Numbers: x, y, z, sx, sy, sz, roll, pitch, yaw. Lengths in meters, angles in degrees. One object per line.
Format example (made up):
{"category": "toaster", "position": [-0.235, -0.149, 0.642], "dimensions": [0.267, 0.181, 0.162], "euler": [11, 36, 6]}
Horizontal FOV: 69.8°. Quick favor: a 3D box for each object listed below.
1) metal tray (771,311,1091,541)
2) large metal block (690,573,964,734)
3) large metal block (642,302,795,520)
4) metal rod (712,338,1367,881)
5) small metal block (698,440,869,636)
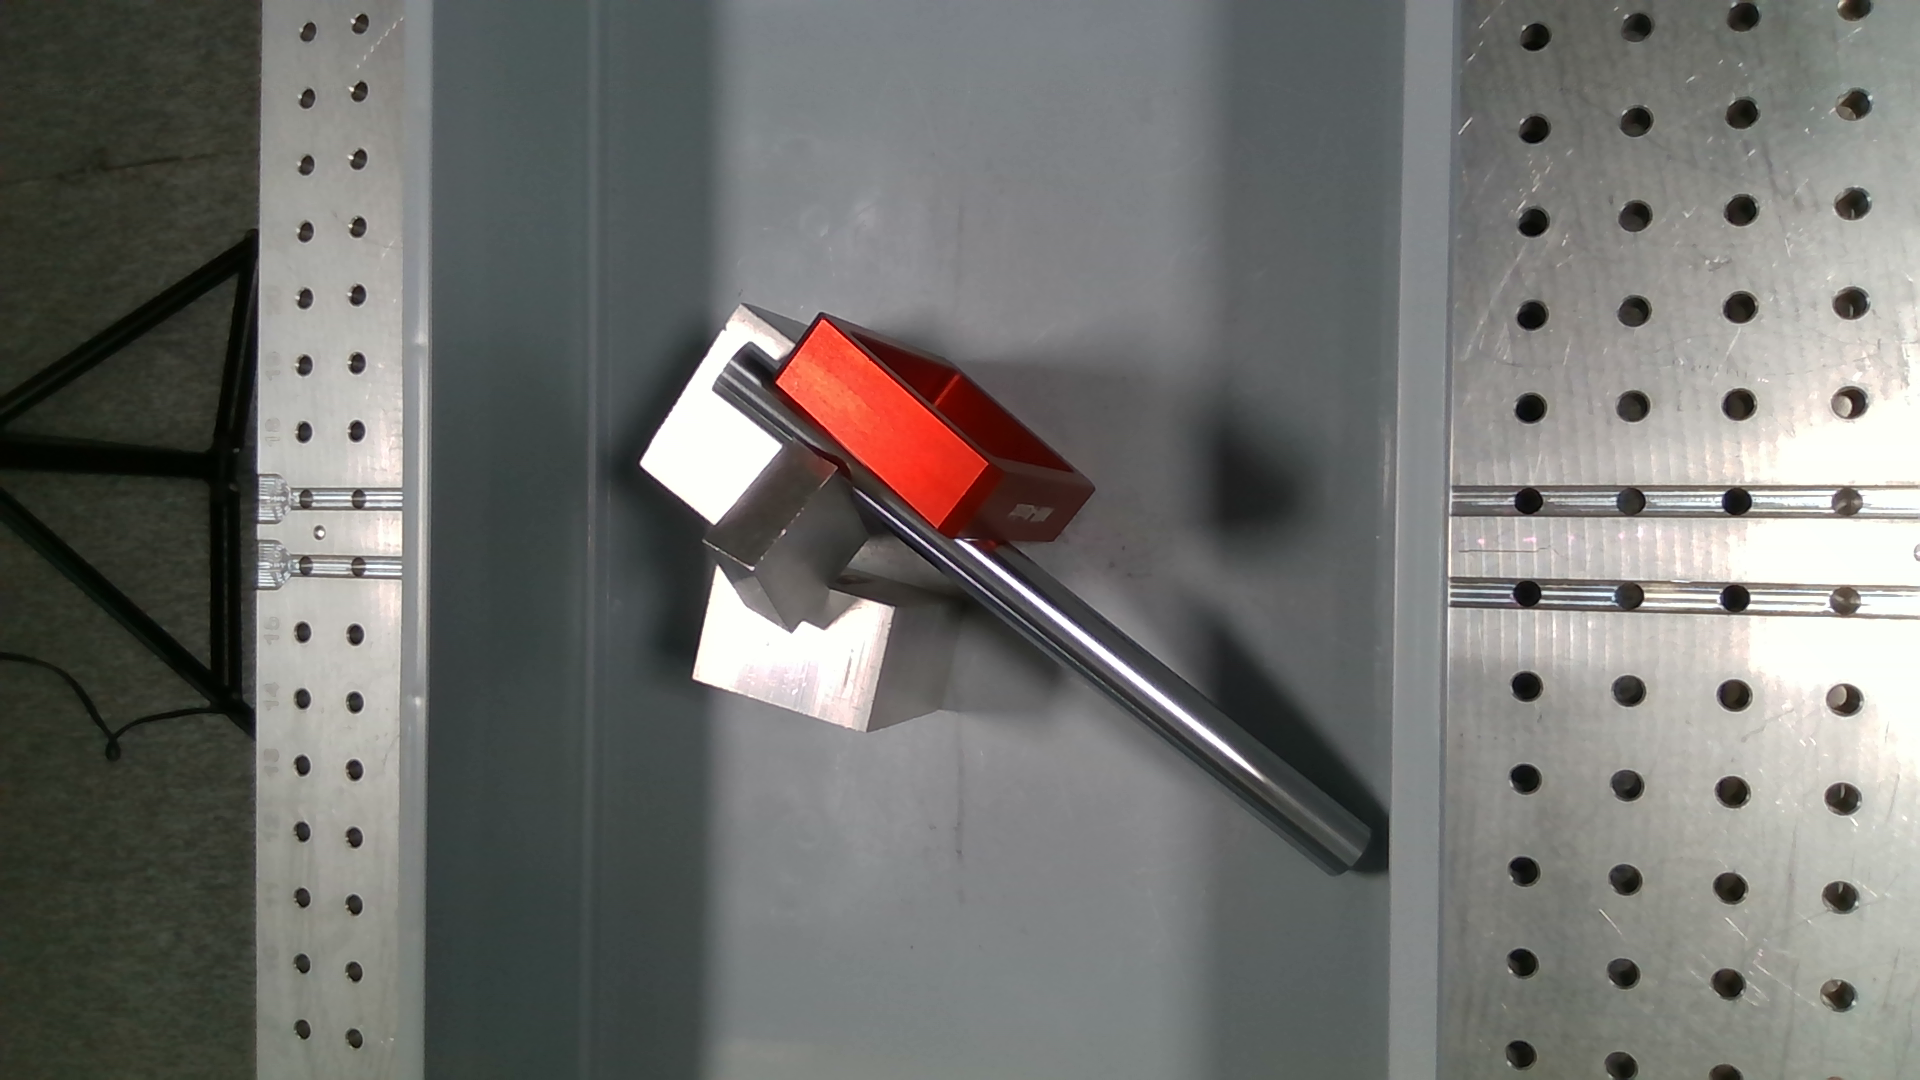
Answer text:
{"category": "metal tray", "position": [-0.005, -0.039, 0.530], "dimensions": [0.090, 0.130, 0.030], "euler": [42, 103, 16]}
{"category": "large metal block", "position": [-0.053, 0.041, 0.576], "dimensions": [0.080, 0.080, 0.050], "euler": [14, 95, 20]}
{"category": "large metal block", "position": [-0.075, -0.047, 0.584], "dimensions": [0.050, 0.080, 0.080], "euler": [38, 103, 16]}
{"category": "metal rod", "position": [0.031, 0.027, 0.525], "dimensions": [0.300, 0.025, 0.025], "euler": [39, 103, -2]}
{"category": "small metal block", "position": [-0.065, 0.000, 0.516], "dimensions": [0.025, 0.050, 0.050], "euler": [28, 68, 26]}
